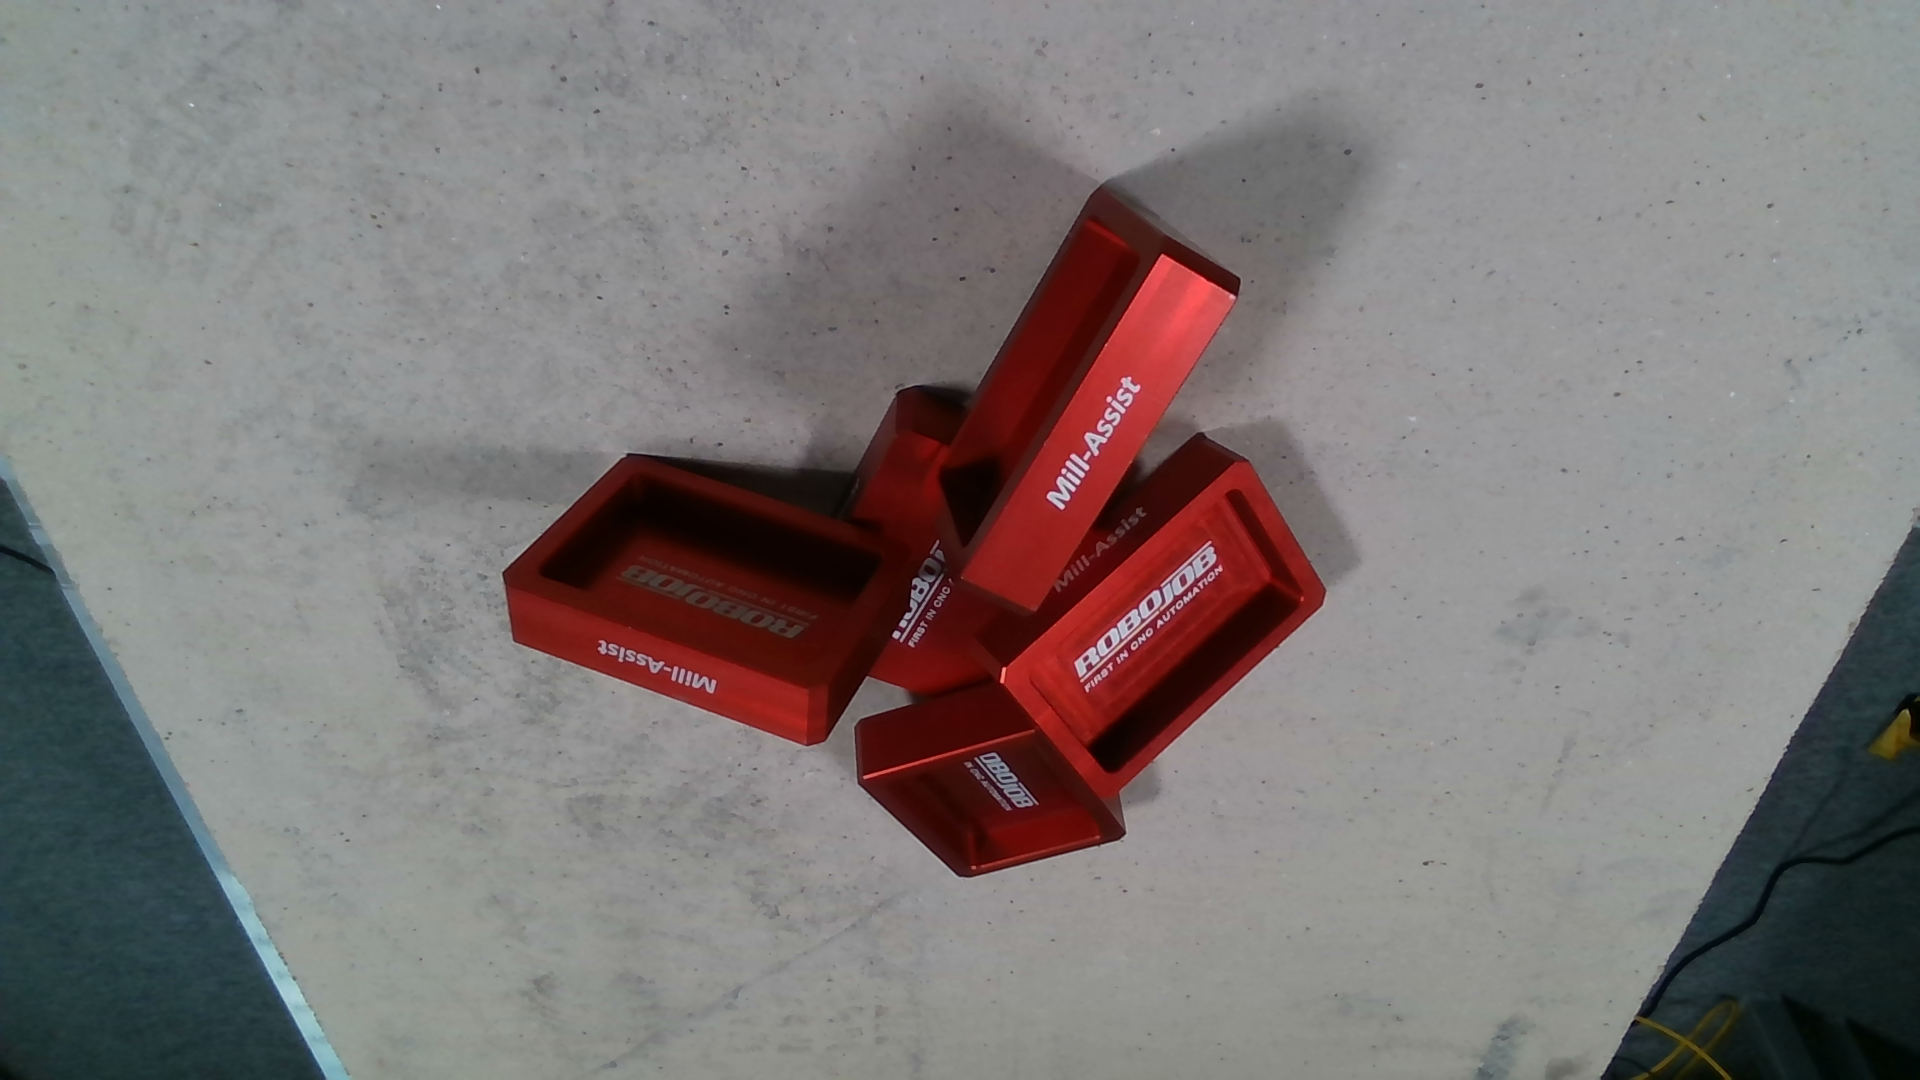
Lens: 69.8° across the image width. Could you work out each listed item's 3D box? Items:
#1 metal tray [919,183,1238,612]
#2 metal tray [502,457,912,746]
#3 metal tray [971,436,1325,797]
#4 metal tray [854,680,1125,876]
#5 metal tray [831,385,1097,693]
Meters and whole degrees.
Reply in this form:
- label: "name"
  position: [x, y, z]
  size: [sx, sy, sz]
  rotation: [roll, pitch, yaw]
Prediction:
- label: "metal tray"
  position: [0.035, -0.050, 0.475]
  size: [0.030, 0.090, 0.130]
  rotation: [25, 109, -20]
- label: "metal tray"
  position: [-0.094, 0.020, 0.528]
  size: [0.130, 0.090, 0.030]
  rotation: [17, 130, 12]
- label: "metal tray"
  position: [0.079, 0.032, 0.565]
  size: [0.130, 0.030, 0.090]
  rotation: [-42, 123, -4]
- label: "metal tray"
  position: [0.017, 0.114, 0.650]
  size: [0.090, 0.030, 0.130]
  rotation: [-17, 142, 14]
- label: "metal tray"
  position: [-0.011, 0.006, 0.581]
  size: [0.090, 0.030, 0.130]
  rotation: [20, 127, -16]
